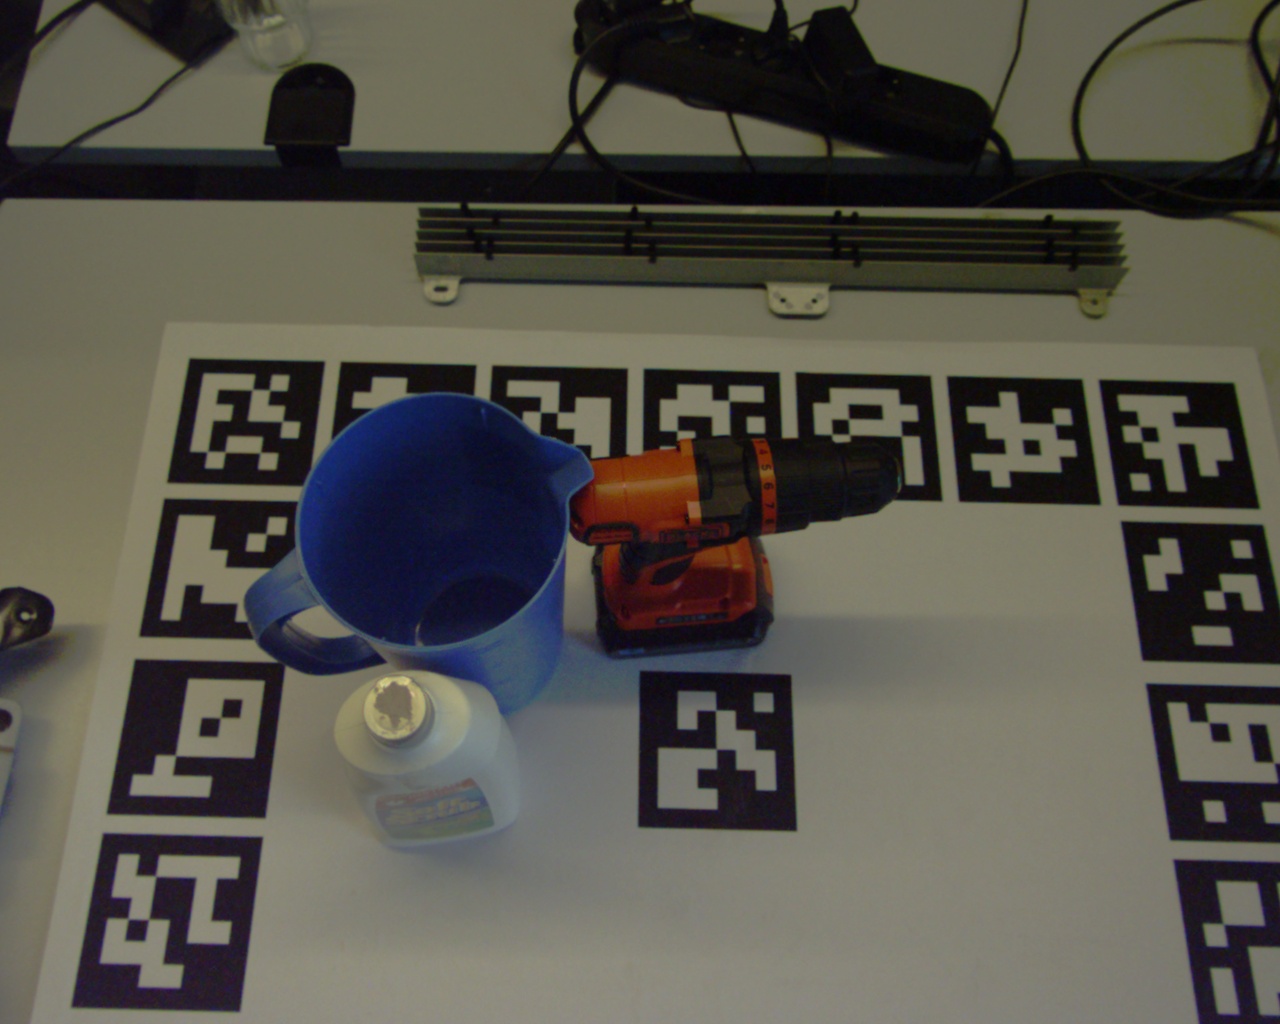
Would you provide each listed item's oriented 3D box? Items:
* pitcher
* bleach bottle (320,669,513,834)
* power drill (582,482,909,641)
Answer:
[{"bbox_3d":[-0.116,0.043,0.681,0.188,0.242,0.134,-24,74,-9],"label":"pitcher"},{"bbox_3d":[-0.128,0.131,0.627,0.102,0.250,0.068,-6,70,-3],"label":"bleach bottle"},{"bbox_3d":[0.052,0.032,0.695,0.184,0.187,0.057,-2,73,-7],"label":"power drill"}]
